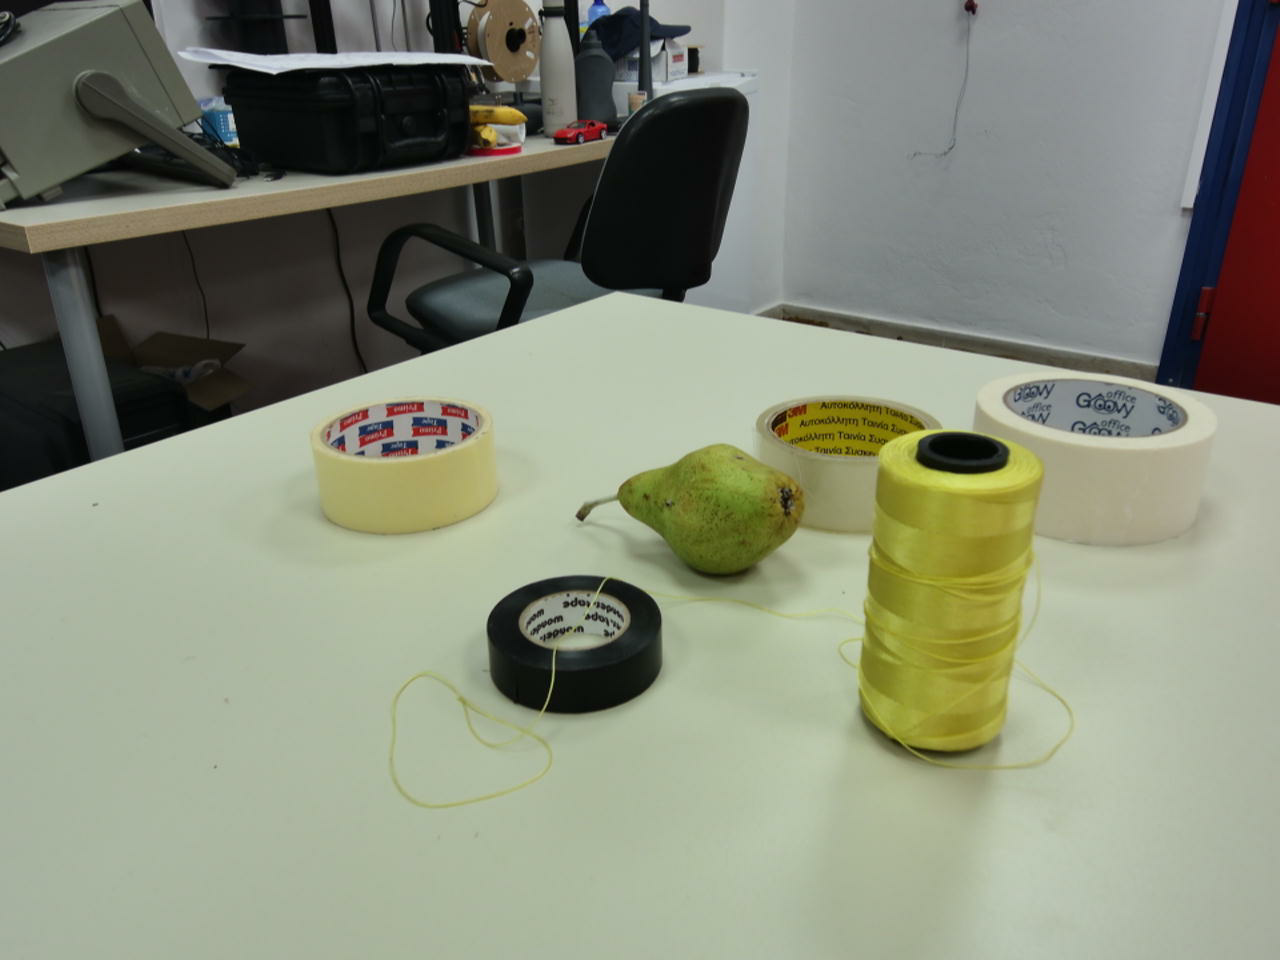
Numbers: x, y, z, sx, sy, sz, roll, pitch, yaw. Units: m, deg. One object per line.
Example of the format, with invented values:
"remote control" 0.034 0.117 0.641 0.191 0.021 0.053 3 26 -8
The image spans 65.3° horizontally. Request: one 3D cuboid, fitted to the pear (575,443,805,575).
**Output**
"pear" 0.023 0.008 0.452 0.056 0.056 0.111 -16 27 -33
